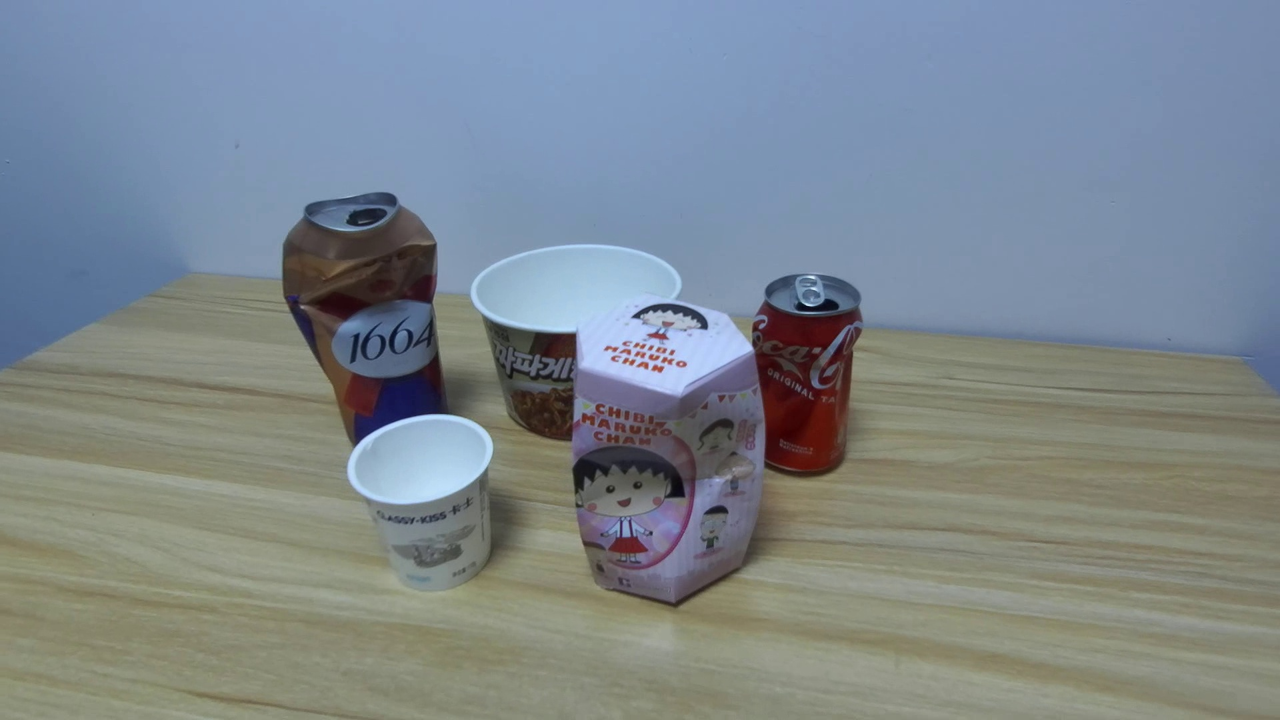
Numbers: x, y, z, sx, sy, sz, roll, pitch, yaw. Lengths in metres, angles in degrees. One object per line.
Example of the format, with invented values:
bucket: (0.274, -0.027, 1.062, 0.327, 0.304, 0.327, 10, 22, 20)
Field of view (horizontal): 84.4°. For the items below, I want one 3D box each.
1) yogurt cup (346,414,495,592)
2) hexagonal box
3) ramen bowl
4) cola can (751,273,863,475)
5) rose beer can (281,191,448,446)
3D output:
yogurt cup: (-0.108, 0.077, 0.367, 0.072, 0.068, 0.072, 0, 30, 0)
hexagonal box: (0.008, 0.046, 0.355, 0.089, 0.135, 0.093, -8, 31, -12)
ramen bowl: (-0.043, -0.012, 0.491, 0.140, 0.095, 0.140, 0, 29, 0)
cola can: (0.100, 0.008, 0.435, 0.066, 0.117, 0.066, 20, 36, 33)
rose beer can: (-0.164, -0.020, 0.442, 0.068, 0.162, 0.074, 10, 33, 17)
